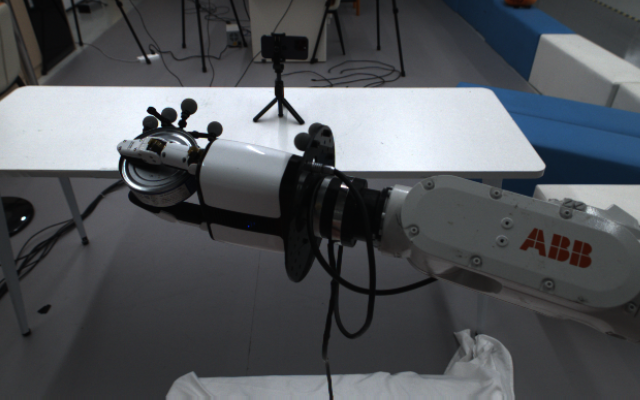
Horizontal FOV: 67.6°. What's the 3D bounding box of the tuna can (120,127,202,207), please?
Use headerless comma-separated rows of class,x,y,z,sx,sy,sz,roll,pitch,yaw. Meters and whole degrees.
tuna can,-0.169,-0.037,0.525,0.085,0.034,0.085,-3,57,4
